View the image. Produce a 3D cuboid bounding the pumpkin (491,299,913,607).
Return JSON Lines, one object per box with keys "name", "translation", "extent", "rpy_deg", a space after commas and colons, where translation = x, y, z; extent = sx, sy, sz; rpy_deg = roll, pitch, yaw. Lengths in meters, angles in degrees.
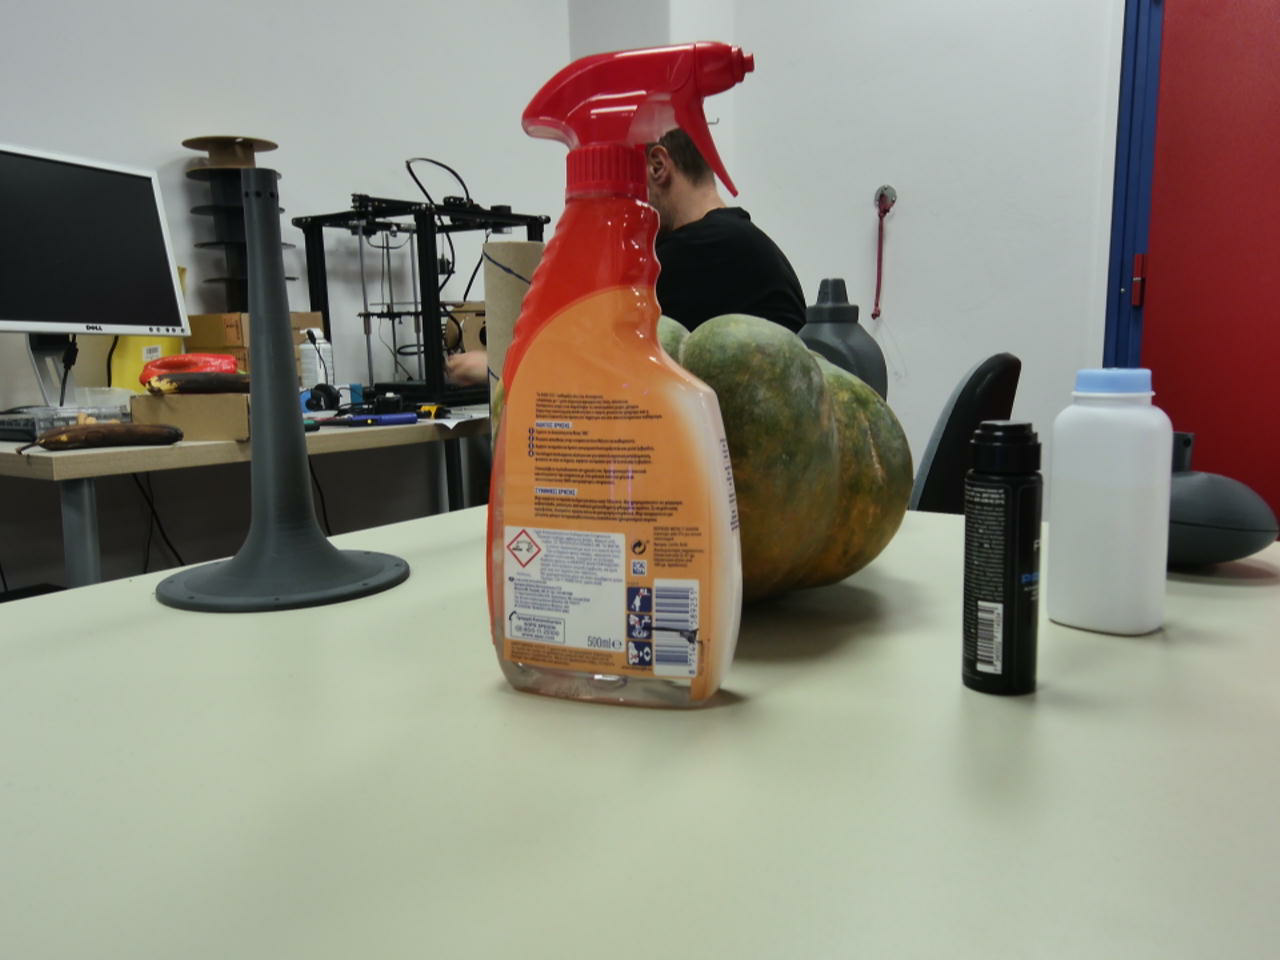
{"name": "pumpkin", "translation": [0.034, -0.019, 0.590], "extent": [0.237, 0.173, 0.270], "rpy_deg": [-1, 6, -17]}
